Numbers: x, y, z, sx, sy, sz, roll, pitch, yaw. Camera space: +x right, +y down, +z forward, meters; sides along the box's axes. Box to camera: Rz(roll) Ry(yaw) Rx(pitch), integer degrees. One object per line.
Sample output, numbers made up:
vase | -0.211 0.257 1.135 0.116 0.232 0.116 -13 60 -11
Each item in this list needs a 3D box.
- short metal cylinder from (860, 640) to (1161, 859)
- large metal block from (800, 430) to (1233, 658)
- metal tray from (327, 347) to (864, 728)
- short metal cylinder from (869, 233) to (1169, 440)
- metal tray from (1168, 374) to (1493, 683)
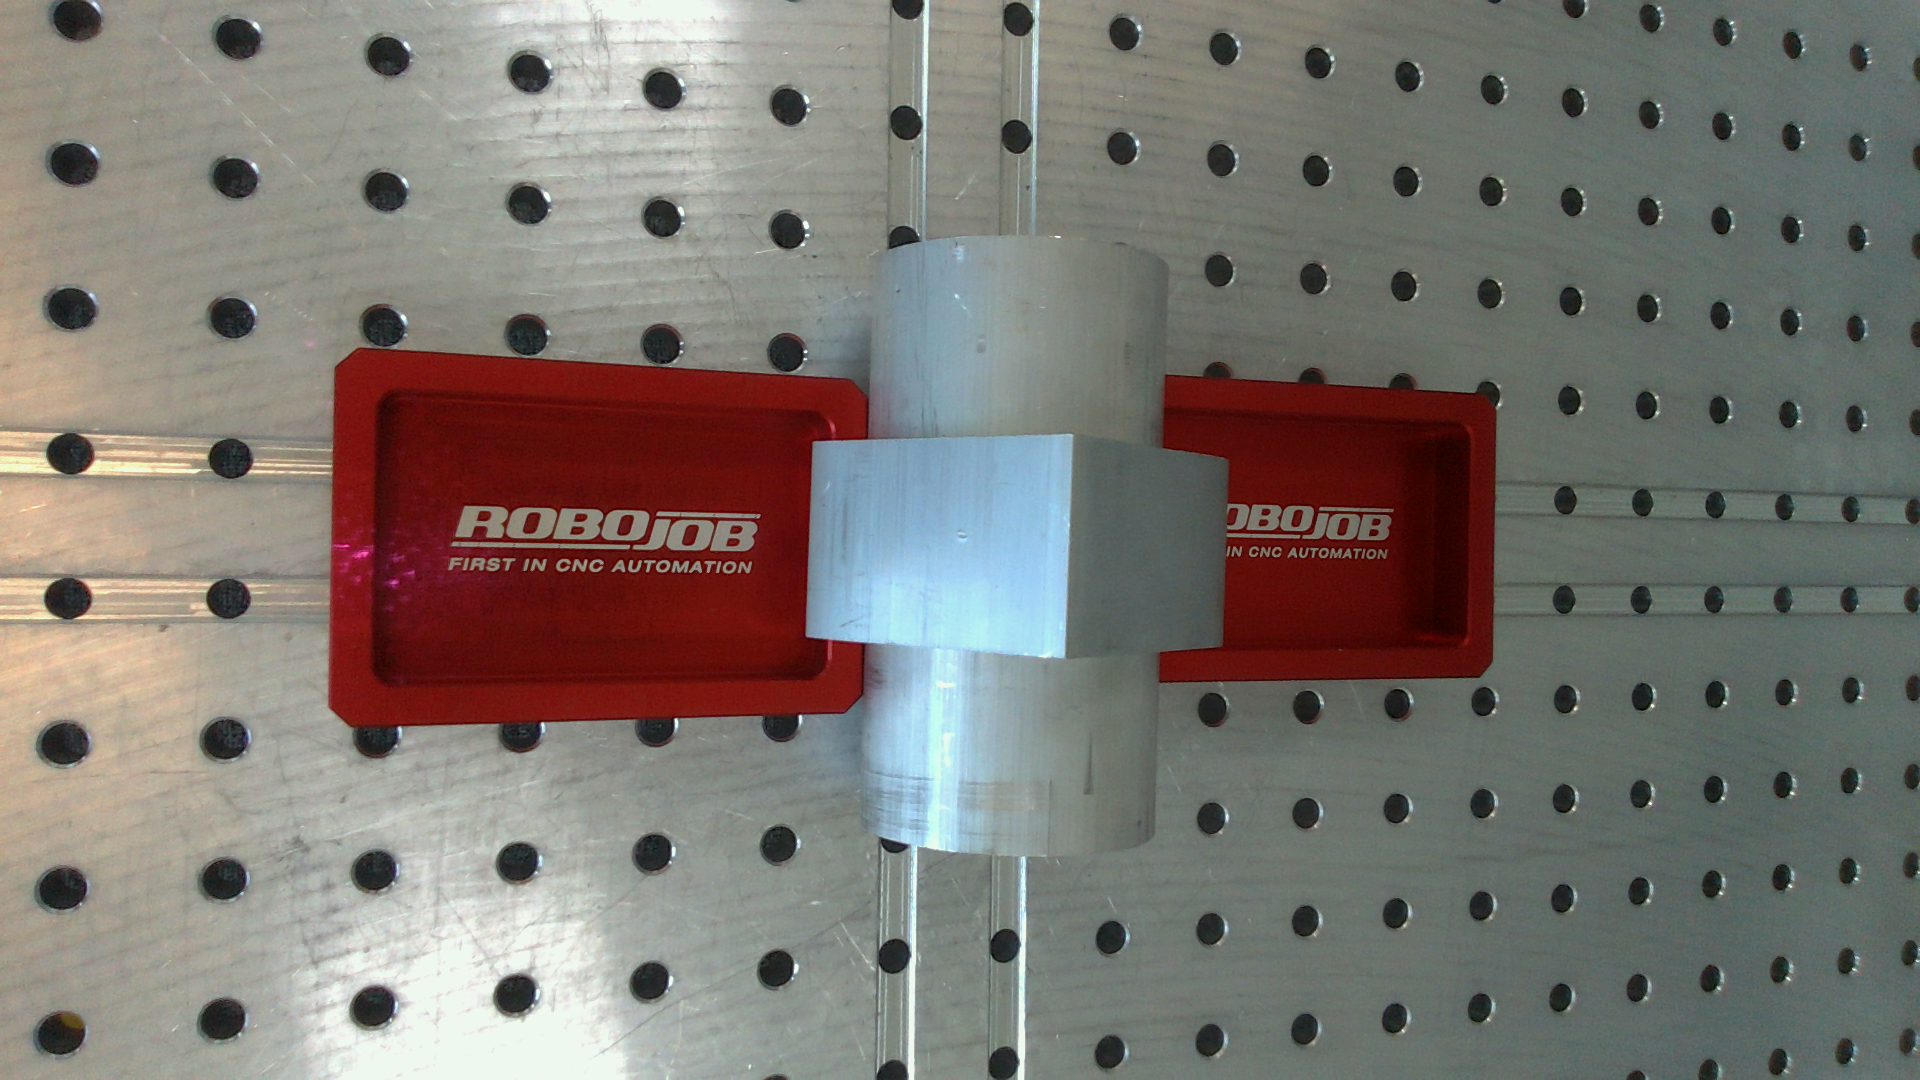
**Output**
short metal cylinder | 0.013 0.052 0.371 0.080 0.080 0.050 2 90 -20
large metal block | 0.016 0.002 0.357 0.080 0.080 0.050 3 88 -54
metal tray | -0.092 0.001 0.359 0.130 0.030 0.090 1 90 -20
short metal cylinder | 0.016 -0.049 0.372 0.080 0.080 0.050 1 90 -20
metal tray | 0.104 -0.003 0.431 0.130 0.030 0.090 1 90 -20
